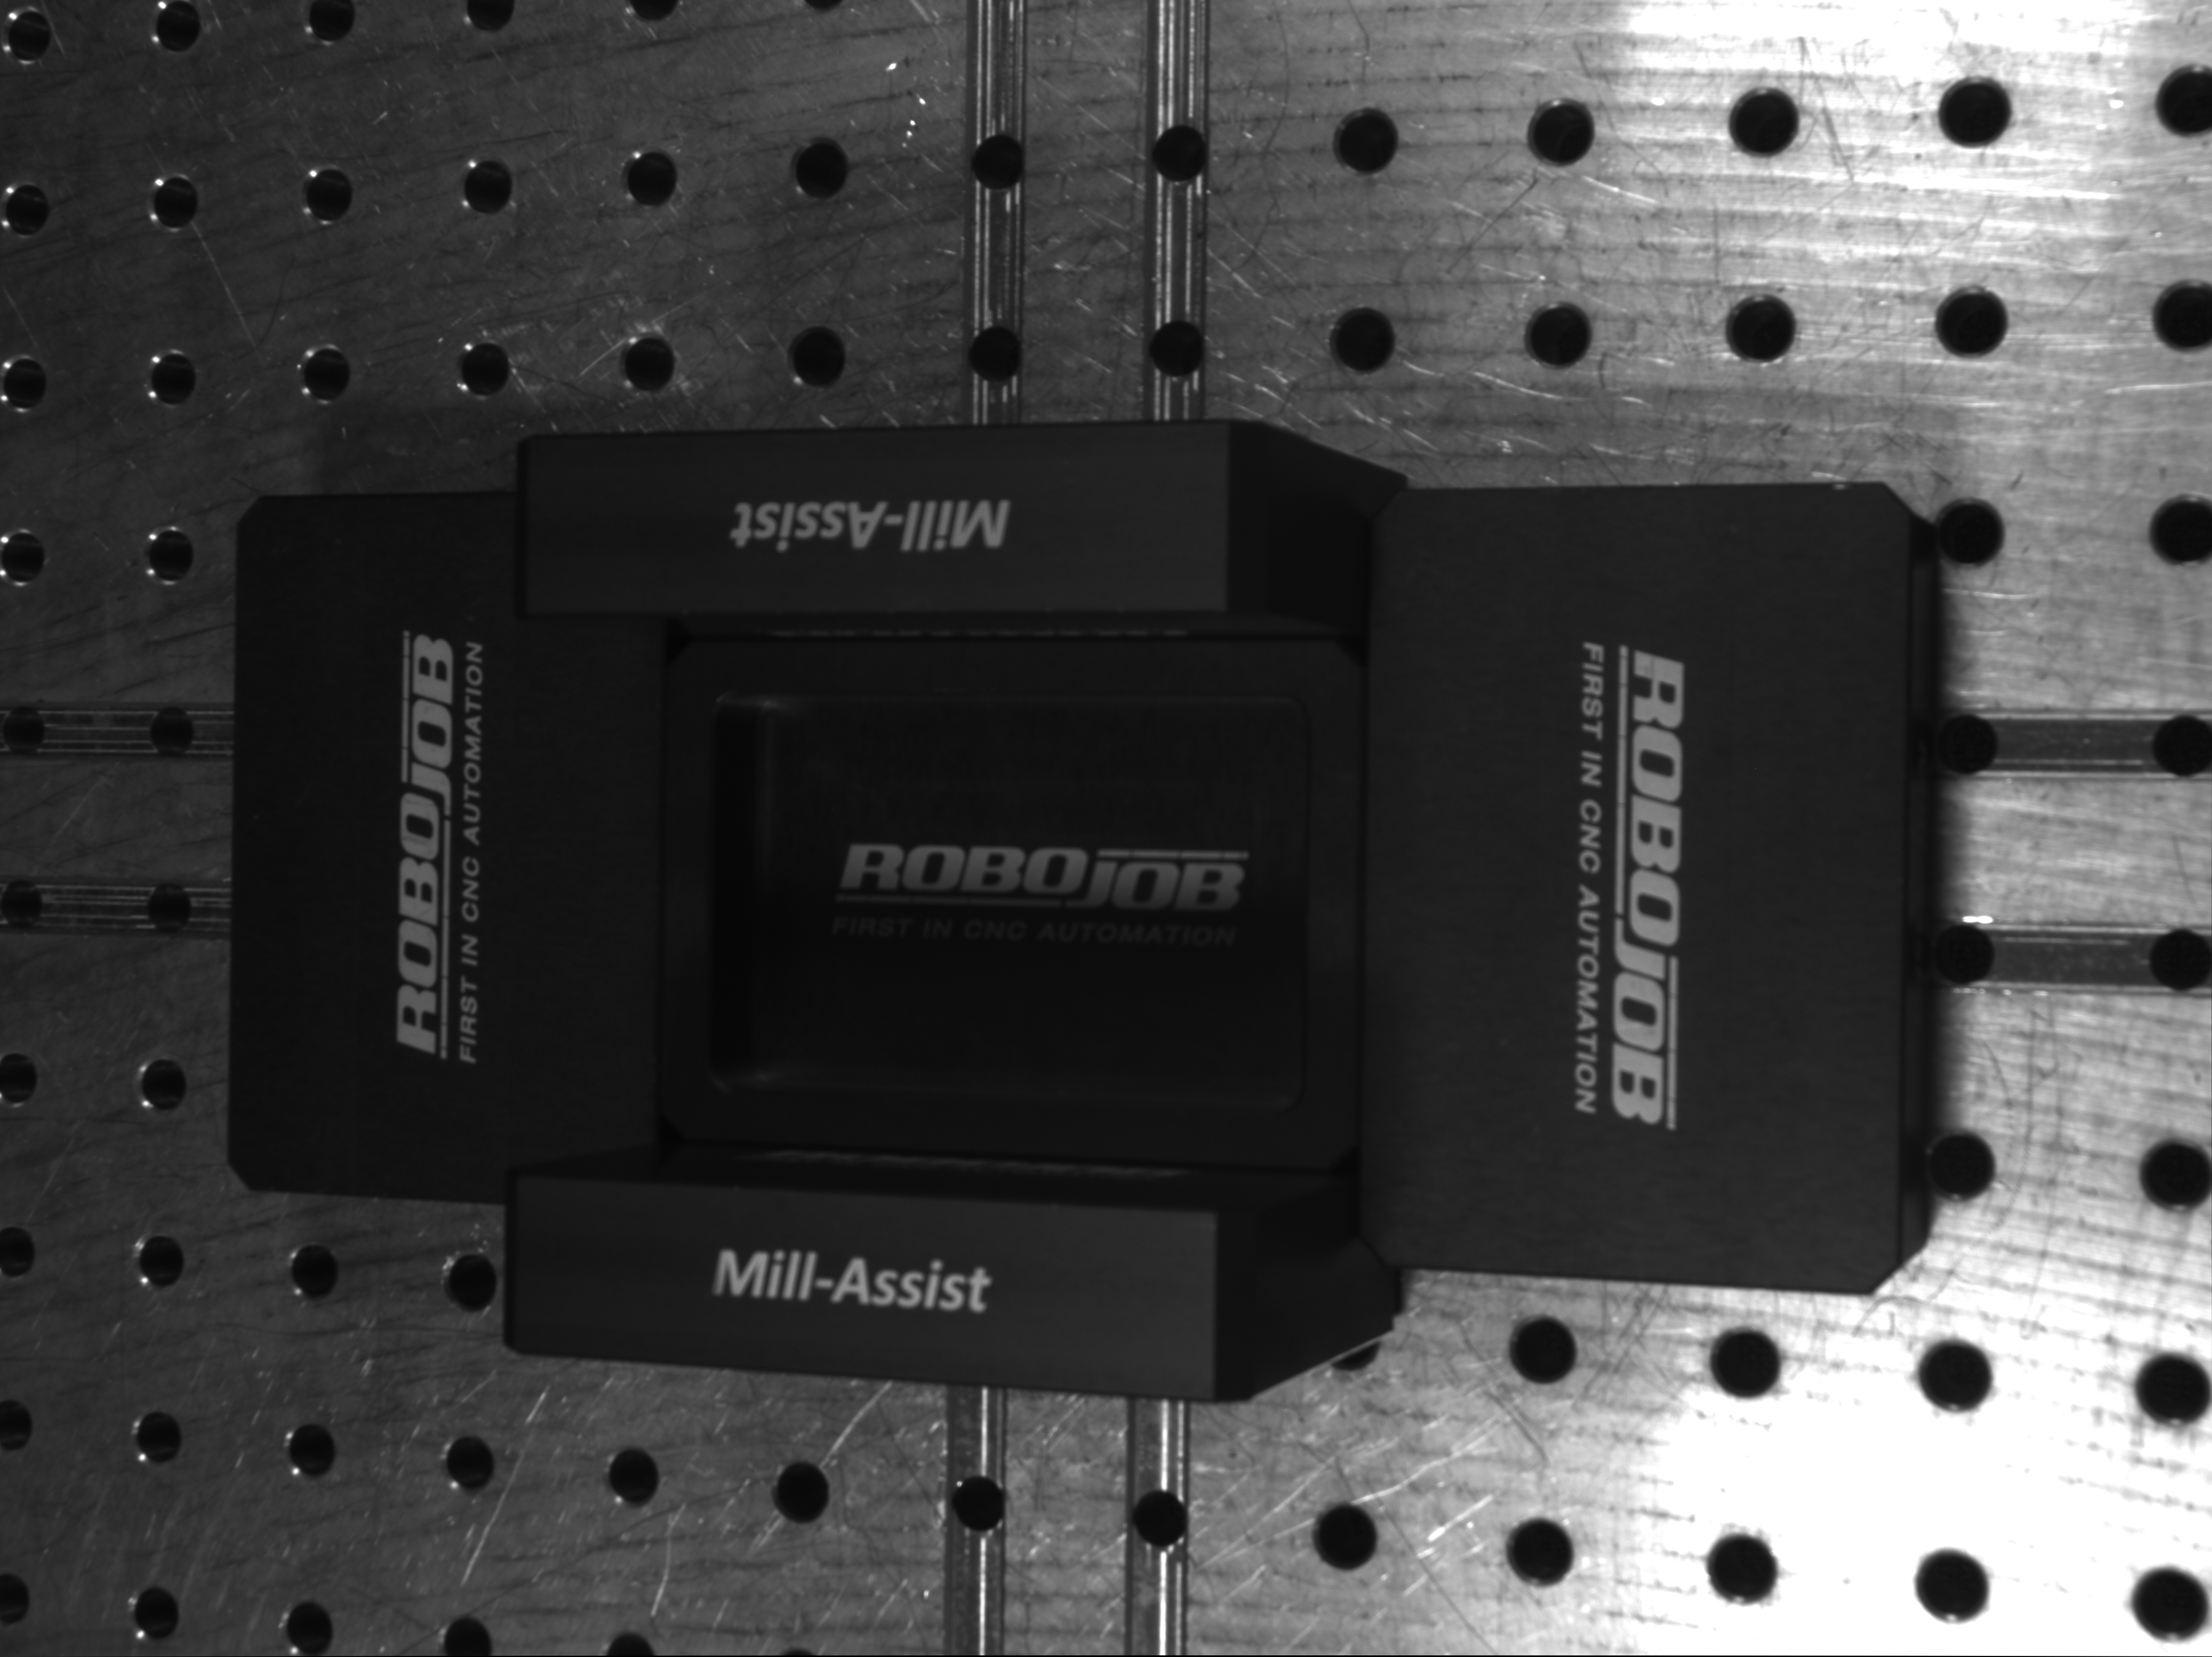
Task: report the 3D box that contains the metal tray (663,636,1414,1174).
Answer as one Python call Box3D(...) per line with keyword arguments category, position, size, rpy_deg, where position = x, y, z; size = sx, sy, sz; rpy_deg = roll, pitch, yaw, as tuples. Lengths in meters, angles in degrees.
Box3D(category="metal tray", position=(-0.013, 0.012, 0.646), size=(0.130, 0.030, 0.090), rpy_deg=(1, 90, 20))

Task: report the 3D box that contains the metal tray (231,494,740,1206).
Box3D(category="metal tray", position=(-0.116, 0.004, 0.685), size=(0.090, 0.030, 0.130), rpy_deg=(1, 90, 20))

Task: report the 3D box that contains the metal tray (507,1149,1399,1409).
Box3D(category="metal tray", position=(-0.024, 0.073, 0.619), size=(0.130, 0.090, 0.030), rpy_deg=(1, 90, 20))

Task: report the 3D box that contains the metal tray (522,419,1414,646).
Box3D(category="metal tray", position=(-0.021, -0.048, 0.620), size=(0.130, 0.090, 0.030), rpy_deg=(1, 90, 20))

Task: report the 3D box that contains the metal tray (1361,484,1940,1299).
Box3D(category="metal tray", position=(0.091, 0.009, 0.610), size=(0.090, 0.030, 0.130), rpy_deg=(1, 90, 19))
